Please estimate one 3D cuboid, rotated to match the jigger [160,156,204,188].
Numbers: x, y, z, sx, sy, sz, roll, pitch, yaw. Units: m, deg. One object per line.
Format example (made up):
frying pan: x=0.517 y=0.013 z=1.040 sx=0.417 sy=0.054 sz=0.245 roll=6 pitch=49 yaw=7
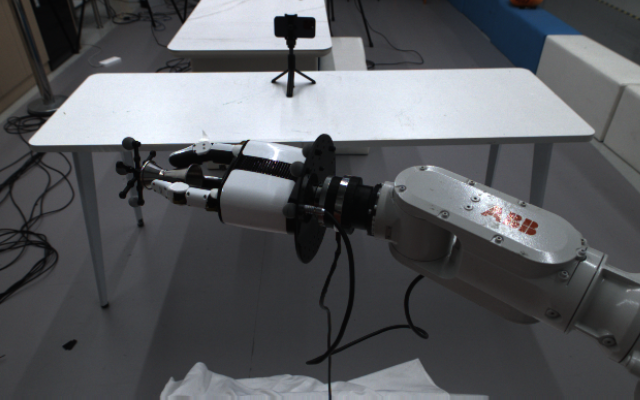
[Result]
jigger: x=-0.189 y=-0.032 z=0.639 sx=0.071 sy=0.043 sz=0.043 roll=6 pitch=35 yaw=14
